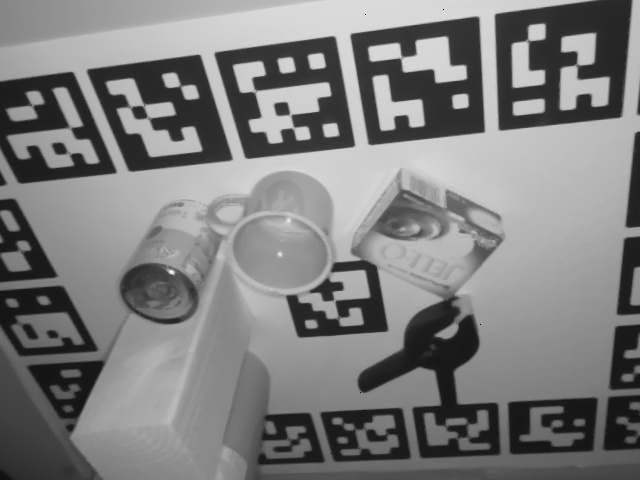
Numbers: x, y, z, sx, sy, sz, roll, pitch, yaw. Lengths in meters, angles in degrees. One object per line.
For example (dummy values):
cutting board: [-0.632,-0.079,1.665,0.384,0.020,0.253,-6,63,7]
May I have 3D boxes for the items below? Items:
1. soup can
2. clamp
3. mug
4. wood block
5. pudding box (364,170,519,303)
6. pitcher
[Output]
soup can: [-0.127,0.017,0.631,0.068,0.103,0.067,2,123,4]
clamp: [0.118,0.126,0.742,0.122,0.037,0.163,22,124,-2]
mug: [-0.038,-0.014,0.617,0.118,0.082,0.092,24,126,-13]
wood block: [-0.134,0.121,0.641,0.089,0.208,0.090,-6,125,14]
pudding box: [0.111,-0.002,0.644,0.114,0.039,0.089,25,120,-14]
pitcher: [-0.139,0.230,0.700,0.188,0.244,0.132,-7,127,7]
